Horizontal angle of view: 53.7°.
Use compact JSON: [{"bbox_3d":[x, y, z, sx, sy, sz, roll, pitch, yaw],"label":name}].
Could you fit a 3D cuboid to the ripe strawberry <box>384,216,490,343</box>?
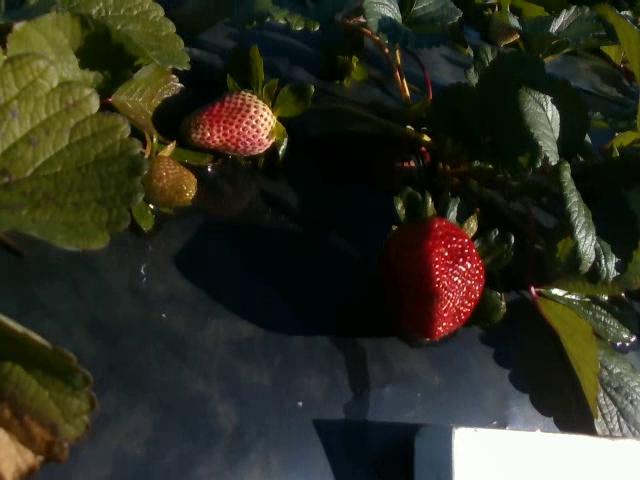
[{"bbox_3d":[0.037,0.017,0.223,0.058,0.066,0.061,-37,9,-2],"label":"ripe strawberry"}]
